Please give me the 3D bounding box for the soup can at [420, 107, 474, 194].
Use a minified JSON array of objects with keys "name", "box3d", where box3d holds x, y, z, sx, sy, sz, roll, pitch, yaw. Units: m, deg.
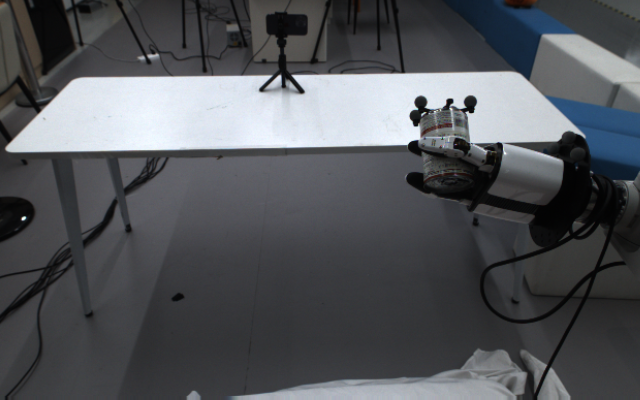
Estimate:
[{"name":"soup can","box3d":[0.176,-0.068,0.670,0.067,0.067,0.101,1,72,-2]}]
